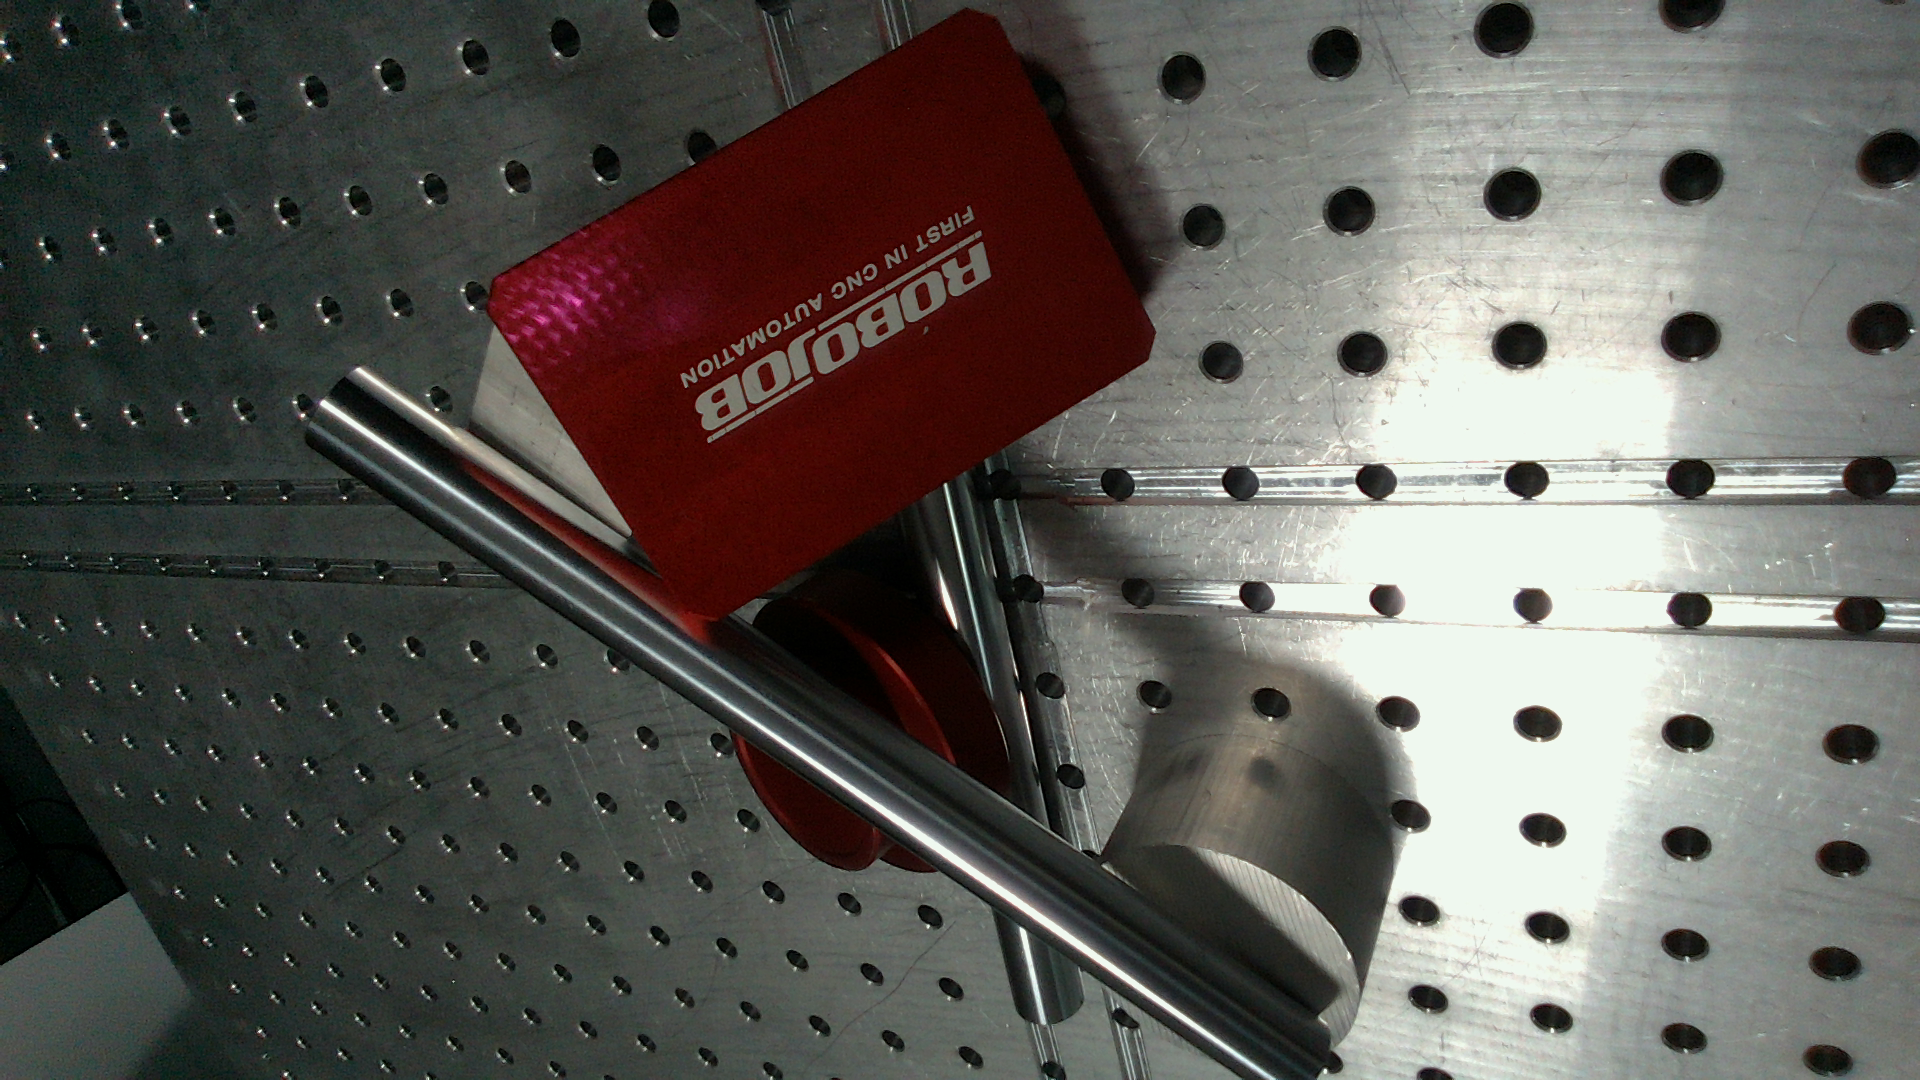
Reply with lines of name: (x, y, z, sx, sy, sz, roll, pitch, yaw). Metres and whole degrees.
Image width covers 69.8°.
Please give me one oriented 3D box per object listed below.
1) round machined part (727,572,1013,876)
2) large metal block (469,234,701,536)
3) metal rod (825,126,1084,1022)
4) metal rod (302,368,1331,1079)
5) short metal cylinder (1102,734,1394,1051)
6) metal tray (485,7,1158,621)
round machined part: (-0.034, 0.062, 0.422, 0.098, 0.042, 0.098, 28, 135, 32)
large metal block: (-0.090, -0.036, 0.388, 0.050, 0.080, 0.080, 35, 129, 5)
metal rod: (0.002, 0.026, 0.411, 0.025, 0.025, 0.300, 2, 120, 27)
metal rod: (-0.032, 0.053, 0.354, 0.300, 0.025, 0.025, 35, 130, -5)
short metal cylinder: (0.081, 0.104, 0.401, 0.080, 0.050, 0.080, 13, 124, 21)
metal tray: (-0.030, -0.052, 0.326, 0.130, 0.030, 0.090, -31, 105, -5)
